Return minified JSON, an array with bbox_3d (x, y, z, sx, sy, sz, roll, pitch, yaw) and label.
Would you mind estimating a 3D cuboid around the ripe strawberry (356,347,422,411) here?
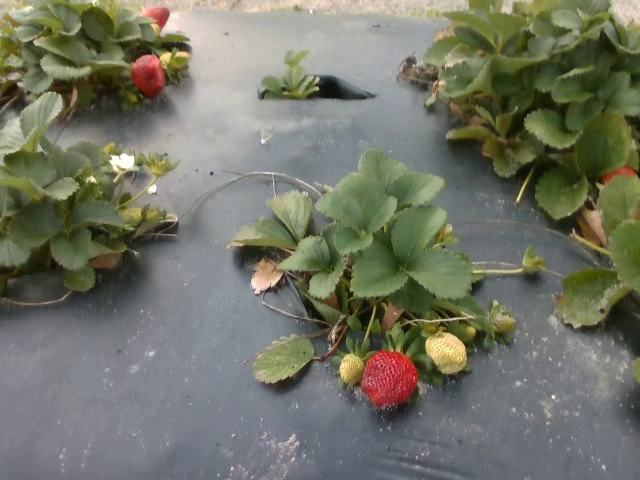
[{"bbox_3d":[0.050,0.110,0.454,0.046,0.046,0.059,4,20,23],"label":"ripe strawberry"}]
